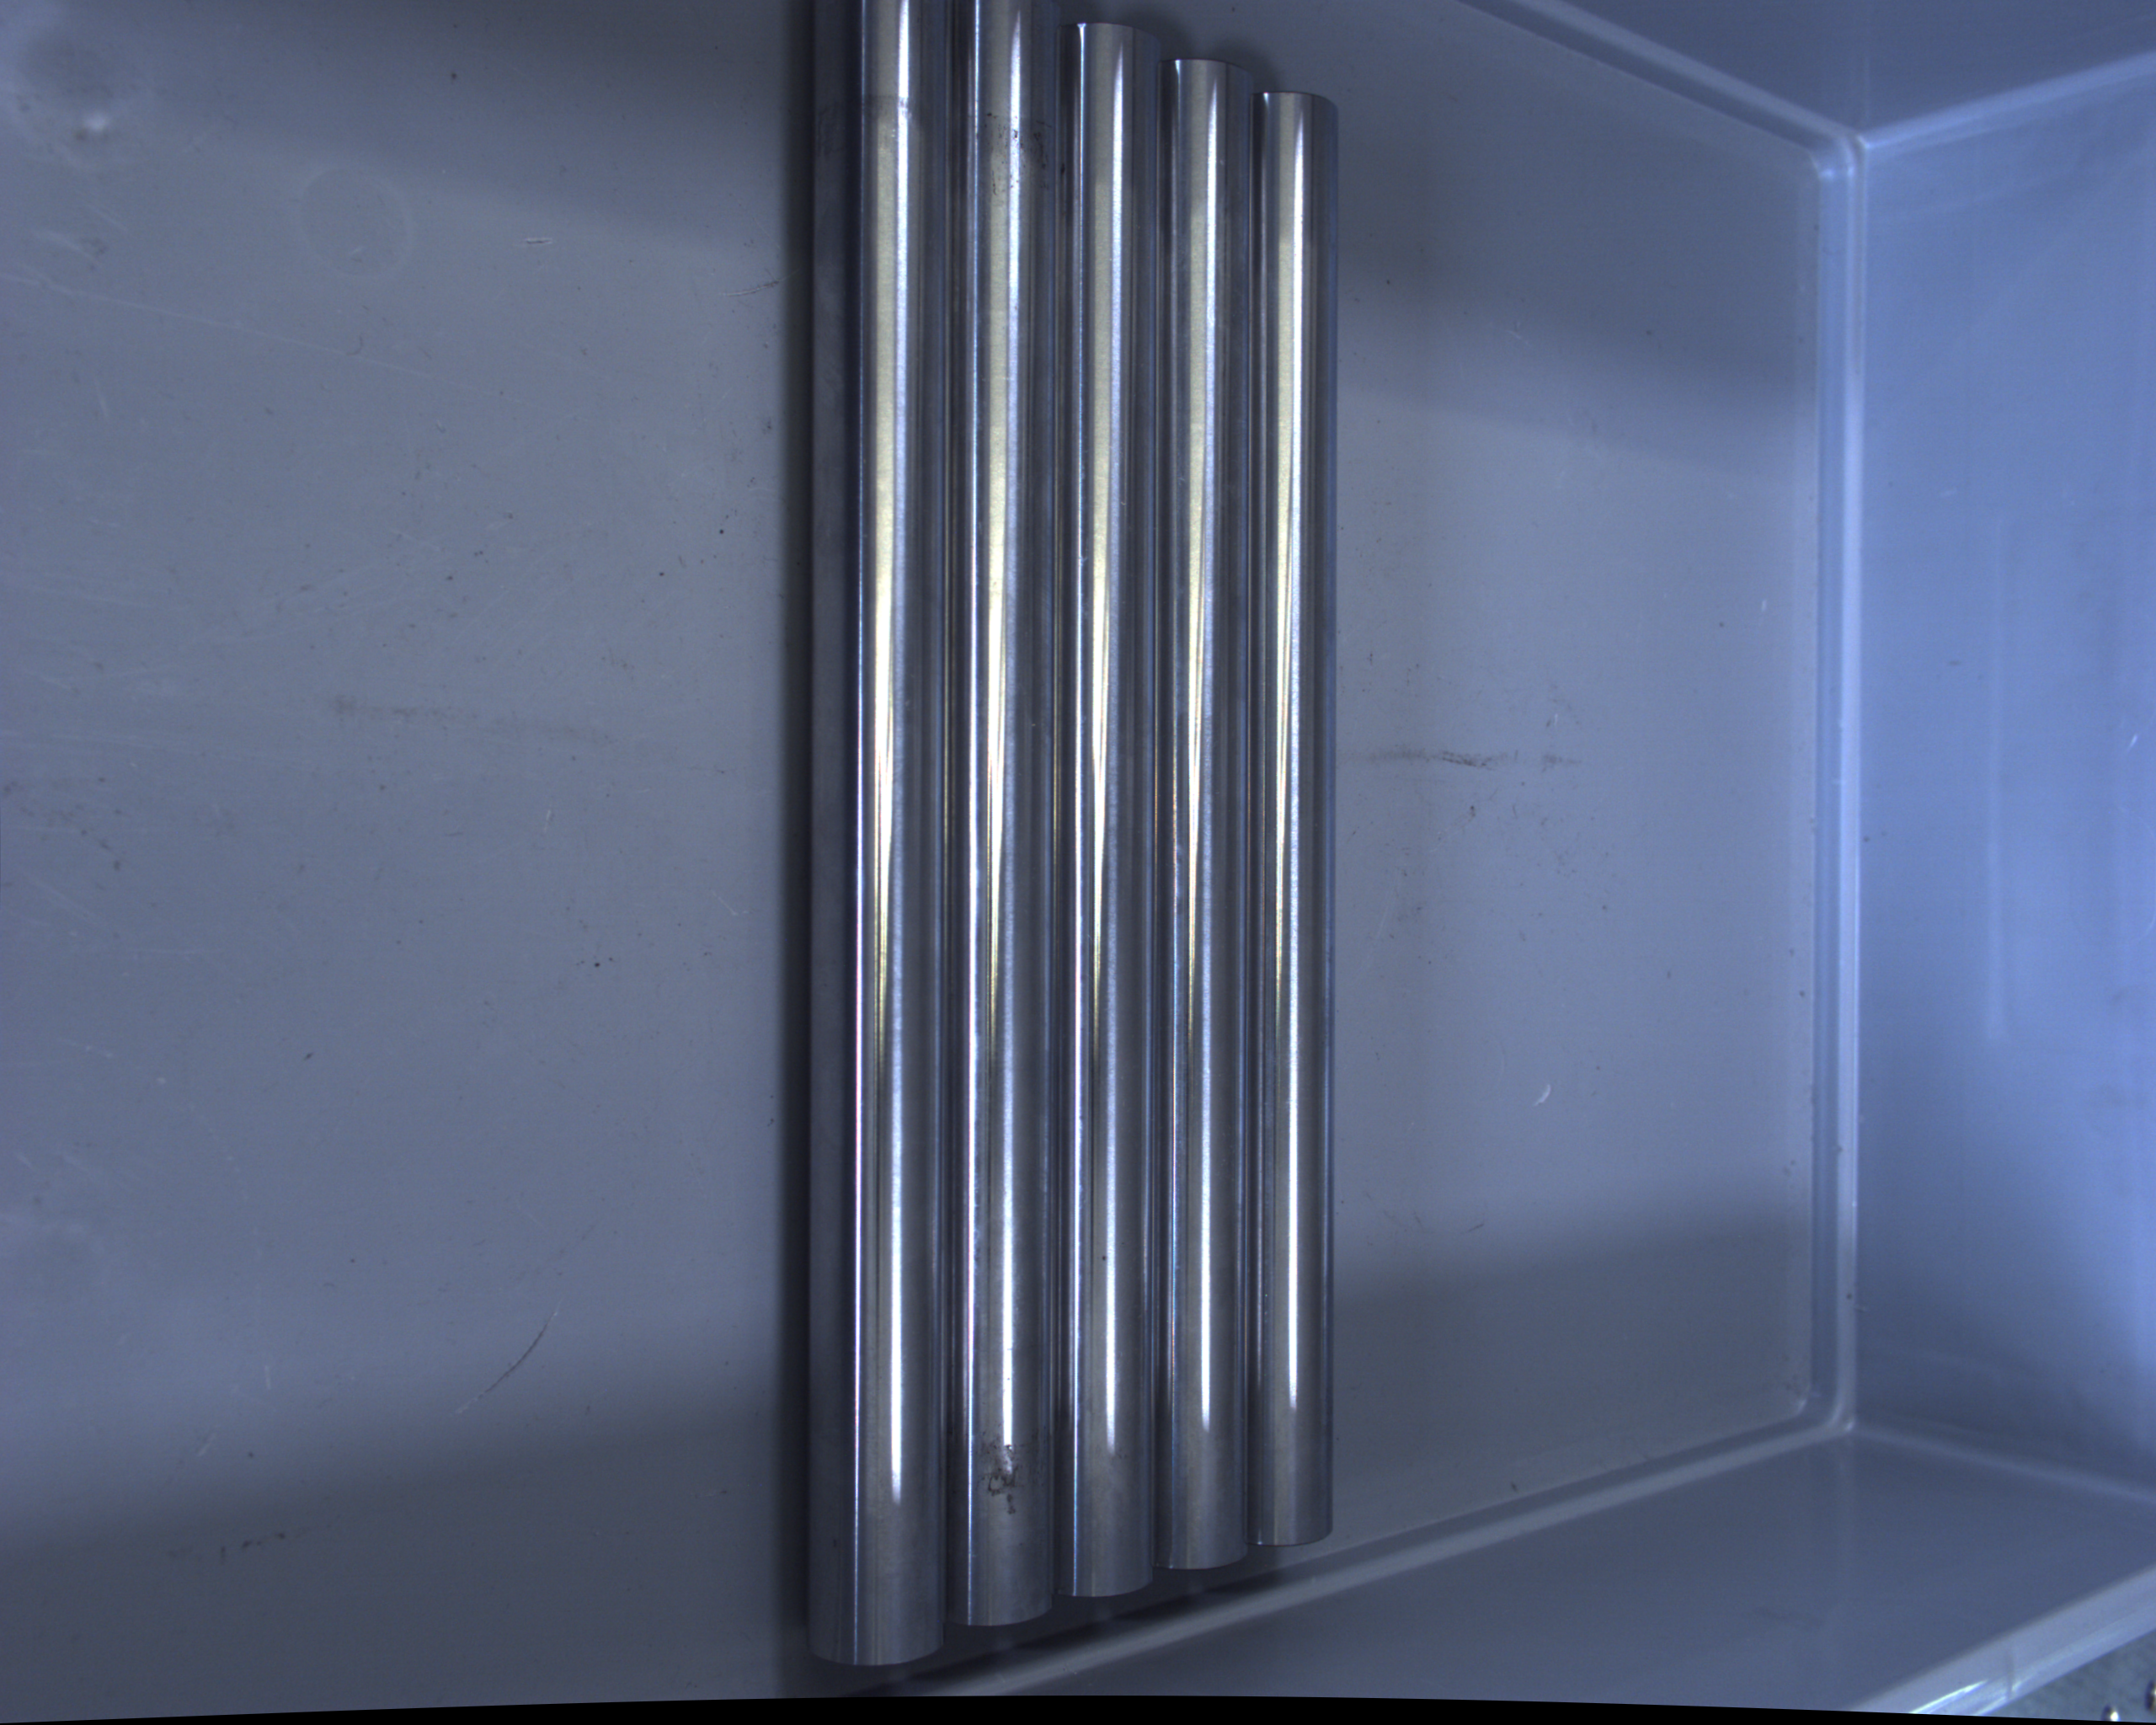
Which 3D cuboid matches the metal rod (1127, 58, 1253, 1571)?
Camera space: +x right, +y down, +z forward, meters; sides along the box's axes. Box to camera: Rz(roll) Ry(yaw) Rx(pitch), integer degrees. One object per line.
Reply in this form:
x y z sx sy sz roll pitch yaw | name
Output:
0.022 -0.010 0.423 0.025 0.025 0.298 0 90 -40 | metal rod

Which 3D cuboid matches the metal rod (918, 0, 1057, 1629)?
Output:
-0.017 -0.010 0.390 0.025 0.025 0.298 0 90 -40 | metal rod

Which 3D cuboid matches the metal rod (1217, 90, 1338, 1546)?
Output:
0.042 -0.009 0.440 0.025 0.025 0.298 0 90 -40 | metal rod

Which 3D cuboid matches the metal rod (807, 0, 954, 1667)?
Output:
-0.035 -0.009 0.375 0.025 0.025 0.298 0 90 -40 | metal rod

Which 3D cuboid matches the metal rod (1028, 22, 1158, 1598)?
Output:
0.003 -0.010 0.407 0.025 0.025 0.298 0 90 -40 | metal rod
